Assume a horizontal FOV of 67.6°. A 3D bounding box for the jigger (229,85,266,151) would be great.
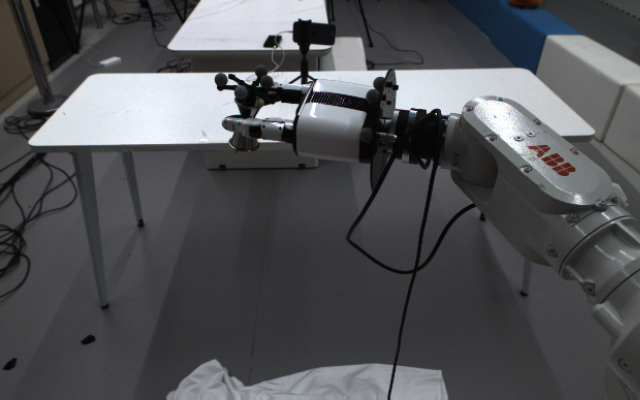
[{"bbox_3d":[-0.101,-0.106,0.670,0.043,0.071,0.043,10,36,-7],"label":"jigger"}]
